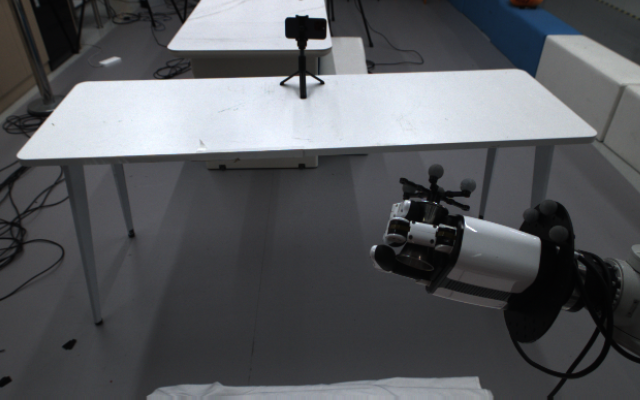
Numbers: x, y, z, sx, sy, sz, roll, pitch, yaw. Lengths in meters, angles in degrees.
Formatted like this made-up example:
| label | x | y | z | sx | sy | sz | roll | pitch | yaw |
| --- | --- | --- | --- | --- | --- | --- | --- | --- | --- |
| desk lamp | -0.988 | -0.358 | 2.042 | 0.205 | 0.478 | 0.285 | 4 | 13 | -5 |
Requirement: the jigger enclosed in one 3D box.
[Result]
| label | x | y | z | sx | sy | sz | roll | pitch | yaw |
| --- | --- | --- | --- | --- | --- | --- | --- | --- | --- |
| jigger | 0.117 | 0.038 | 0.540 | 0.043 | 0.043 | 0.071 | 15 | 70 | 18 |
